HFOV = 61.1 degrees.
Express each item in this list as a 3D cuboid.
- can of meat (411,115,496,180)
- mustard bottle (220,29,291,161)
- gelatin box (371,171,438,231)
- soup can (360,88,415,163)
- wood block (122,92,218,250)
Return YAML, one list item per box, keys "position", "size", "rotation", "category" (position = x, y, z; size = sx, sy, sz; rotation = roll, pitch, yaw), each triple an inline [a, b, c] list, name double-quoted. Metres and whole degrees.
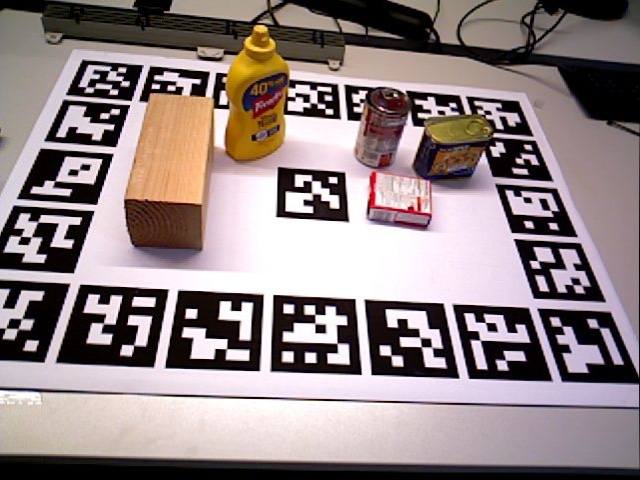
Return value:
- position: [0.194, -0.137, 0.803]
  size: [0.100, 0.086, 0.057]
  rotation: [-6, 53, -17]
  category: "can of meat"
- position: [-0.087, -0.199, 0.743]
  size: [0.094, 0.196, 0.058]
  rotation: [-17, 55, -24]
  category: "mustard bottle"
- position: [0.118, -0.055, 0.754]
  size: [0.089, 0.031, 0.072]
  rotation: [10, 52, 2]
  category: "gelatin box"
- position: [0.099, -0.172, 0.792]
  size: [0.067, 0.104, 0.067]
  rotation: [4, 52, -6]
  category: "soup can"
- position: [-0.187, -0.095, 0.704]
  size: [0.090, 0.092, 0.203]
  rotation: [5, 46, -8]
  category: "wood block"
